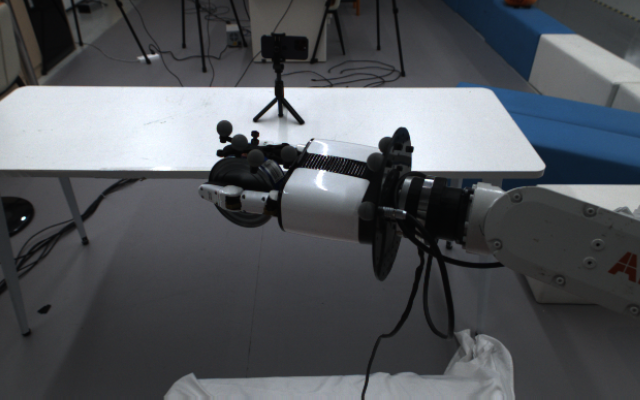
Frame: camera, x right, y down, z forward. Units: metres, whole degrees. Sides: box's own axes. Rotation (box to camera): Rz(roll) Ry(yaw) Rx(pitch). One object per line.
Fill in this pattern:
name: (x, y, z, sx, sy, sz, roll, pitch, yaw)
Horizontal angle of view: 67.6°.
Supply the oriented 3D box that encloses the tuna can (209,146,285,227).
tuna can: (-0.078, -0.015, 0.545, 0.085, 0.085, 0.034, 16, 29, 19)
